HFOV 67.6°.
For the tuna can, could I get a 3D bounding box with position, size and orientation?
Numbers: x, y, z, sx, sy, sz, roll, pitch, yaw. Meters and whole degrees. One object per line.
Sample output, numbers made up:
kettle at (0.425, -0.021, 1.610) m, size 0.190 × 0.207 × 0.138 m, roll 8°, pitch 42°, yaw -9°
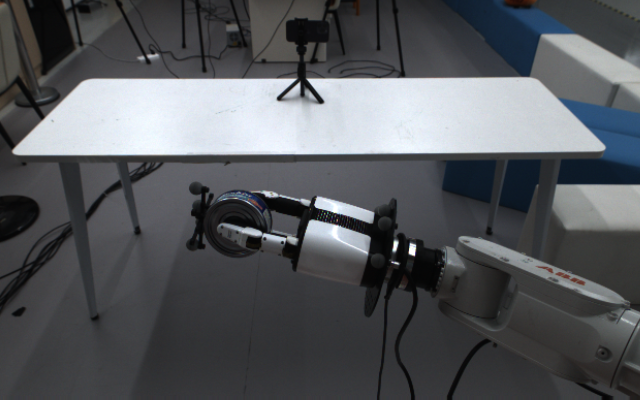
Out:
tuna can at (-0.106, 0.031, 0.634) m, size 0.085 × 0.085 × 0.034 m, roll 4°, pitch 18°, yaw 3°
